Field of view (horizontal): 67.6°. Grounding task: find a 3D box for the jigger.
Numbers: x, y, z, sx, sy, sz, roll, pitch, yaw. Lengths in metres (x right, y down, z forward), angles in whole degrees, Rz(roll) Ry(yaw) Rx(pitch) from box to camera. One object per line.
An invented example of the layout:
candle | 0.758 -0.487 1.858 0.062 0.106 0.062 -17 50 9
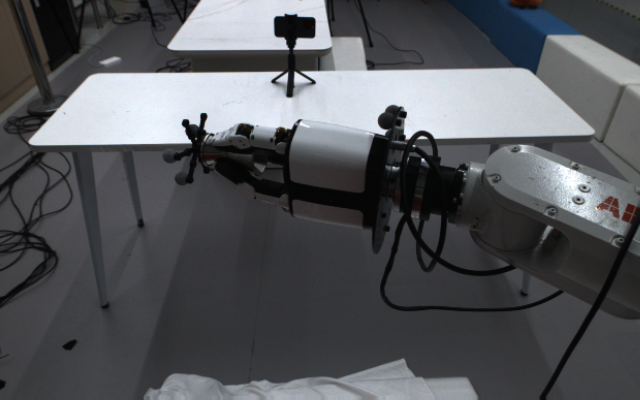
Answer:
jigger | -0.098 -0.060 0.571 0.071 0.043 0.043 9 35 15
